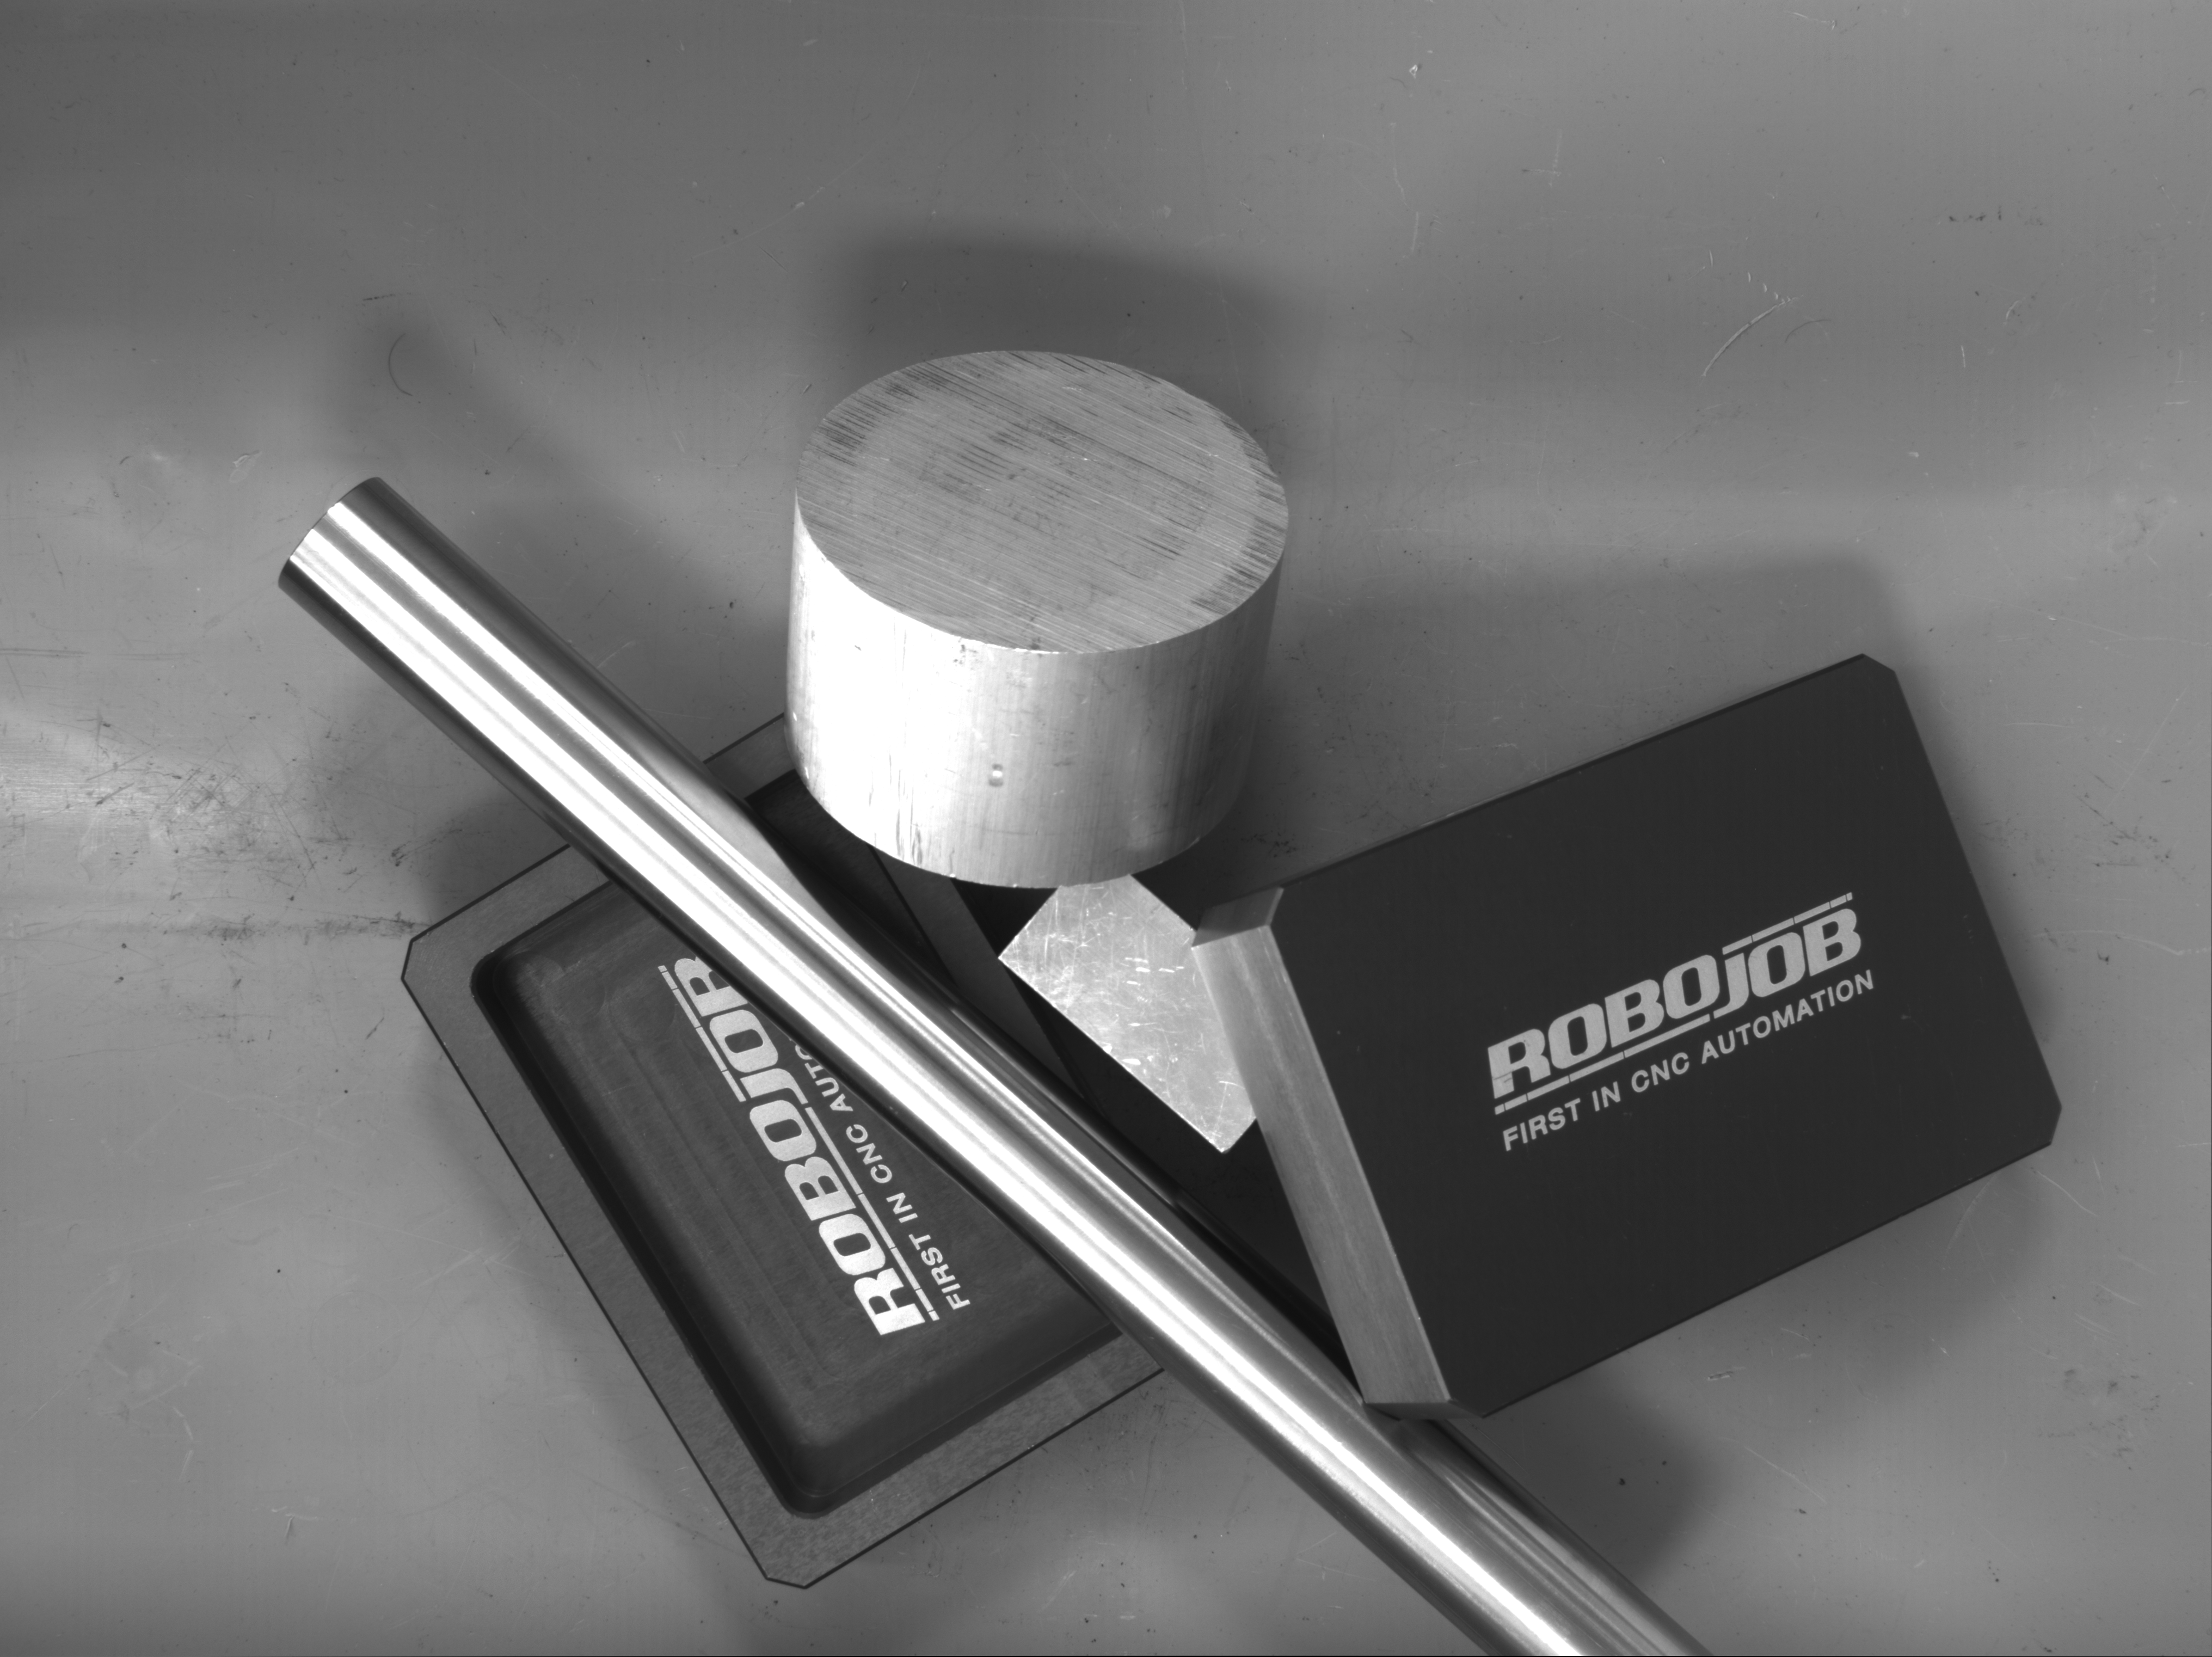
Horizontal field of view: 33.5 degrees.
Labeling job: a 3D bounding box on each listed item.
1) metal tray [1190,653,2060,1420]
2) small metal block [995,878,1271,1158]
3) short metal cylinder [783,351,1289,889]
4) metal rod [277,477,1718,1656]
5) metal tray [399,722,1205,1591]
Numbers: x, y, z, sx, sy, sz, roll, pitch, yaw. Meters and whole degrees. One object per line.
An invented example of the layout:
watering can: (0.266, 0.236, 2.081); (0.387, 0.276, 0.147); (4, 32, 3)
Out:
metal tray: (0.089, 0.034, 0.617); (0.130, 0.030, 0.090); (-21, 90, -24)
small metal block: (0.009, 0.029, 0.631); (0.050, 0.050, 0.025); (41, 90, 0)
short metal cylinder: (-0.013, -0.036, 0.611); (0.080, 0.080, 0.050); (8, 132, 0)
metal rod: (-0.017, 0.050, 0.615); (0.300, 0.025, 0.025); (41, 90, 0)
metal tray: (-0.051, 0.054, 0.642); (0.090, 0.030, 0.130); (-32, 90, 0)
